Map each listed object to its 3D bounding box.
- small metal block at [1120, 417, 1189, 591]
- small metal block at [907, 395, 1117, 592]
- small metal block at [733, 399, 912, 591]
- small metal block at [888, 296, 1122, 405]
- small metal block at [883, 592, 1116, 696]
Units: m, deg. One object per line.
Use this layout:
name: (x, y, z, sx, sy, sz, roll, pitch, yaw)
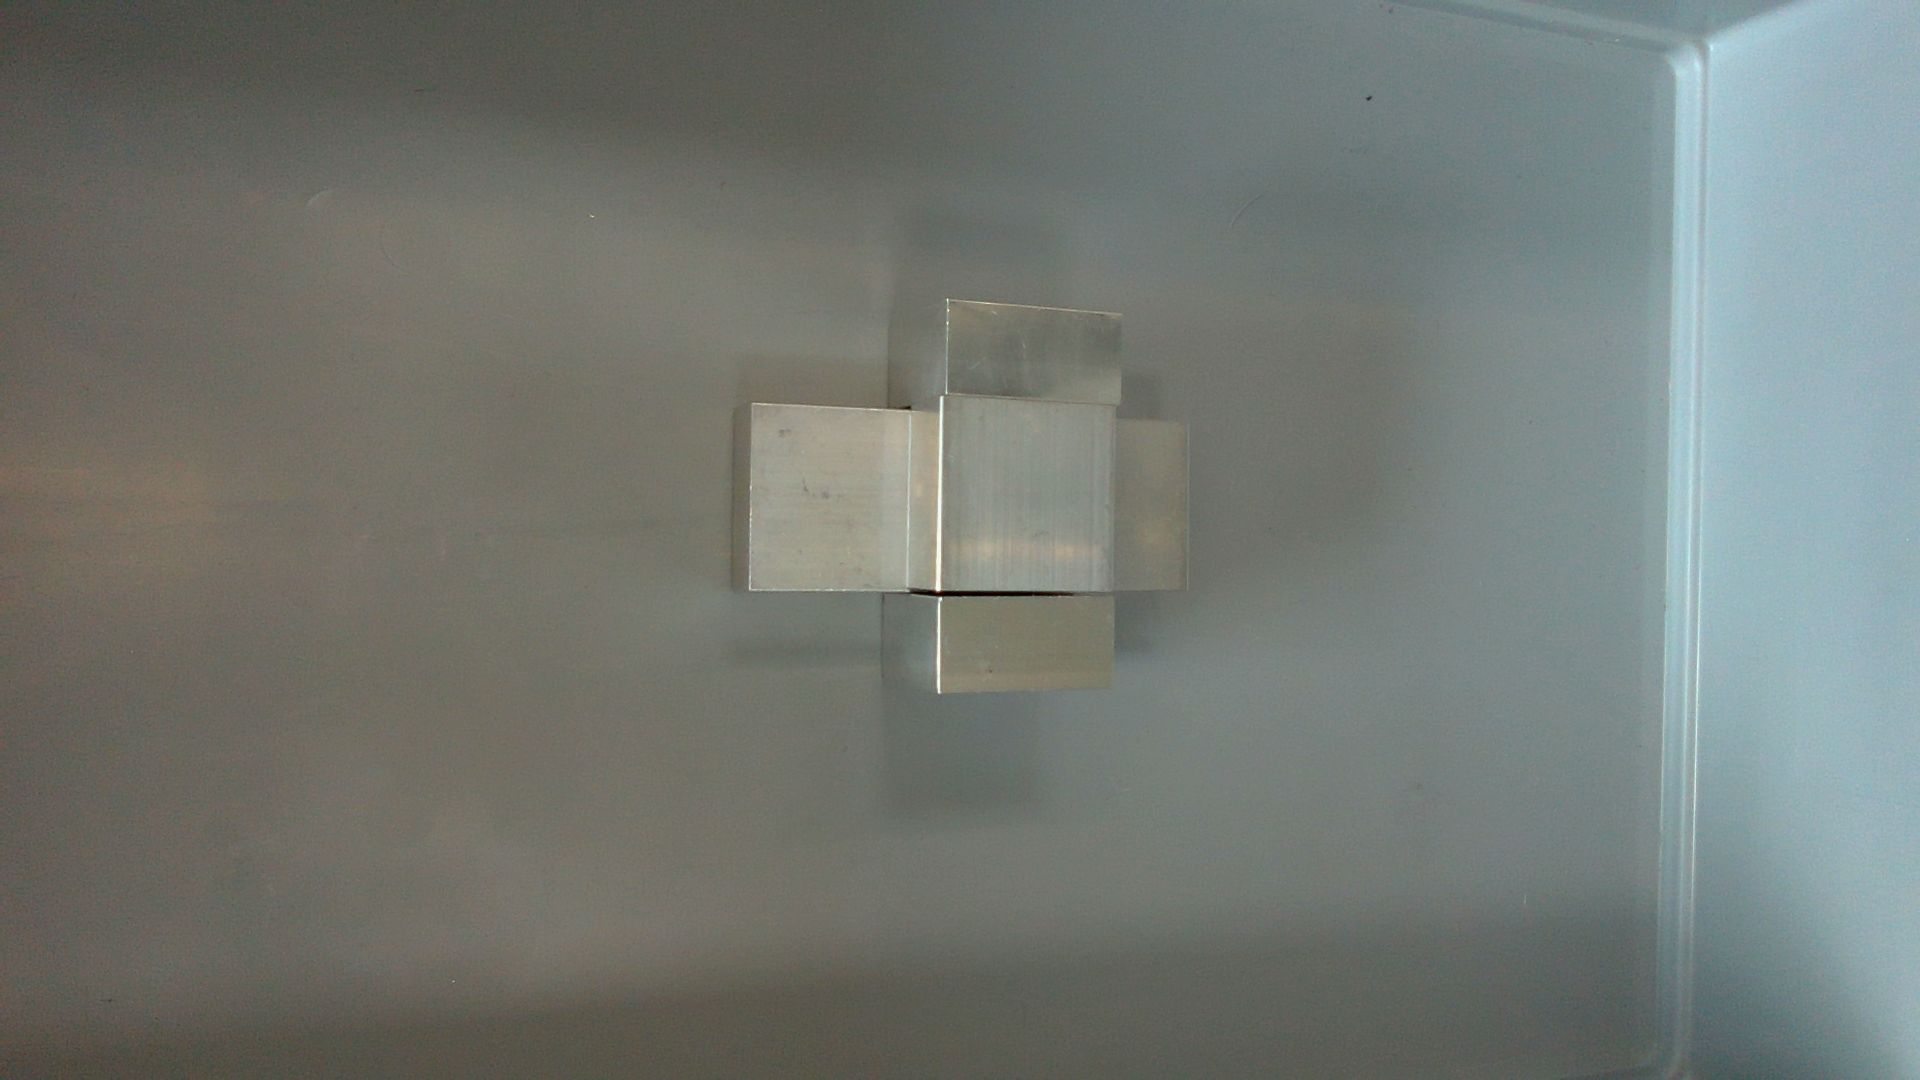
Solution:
small metal block: (0.039, -0.010, 0.406, 0.050, 0.025, 0.050, 1, 90, -20)
small metal block: (0.014, -0.012, 0.370, 0.050, 0.025, 0.050, 1, 90, -20)
small metal block: (-0.036, -0.011, 0.378, 0.050, 0.025, 0.050, 1, 90, -20)
small metal block: (0.011, -0.049, 0.382, 0.050, 0.050, 0.025, 1, 90, -20)
small metal block: (0.009, 0.027, 0.381, 0.050, 0.050, 0.025, 1, 90, -20)
